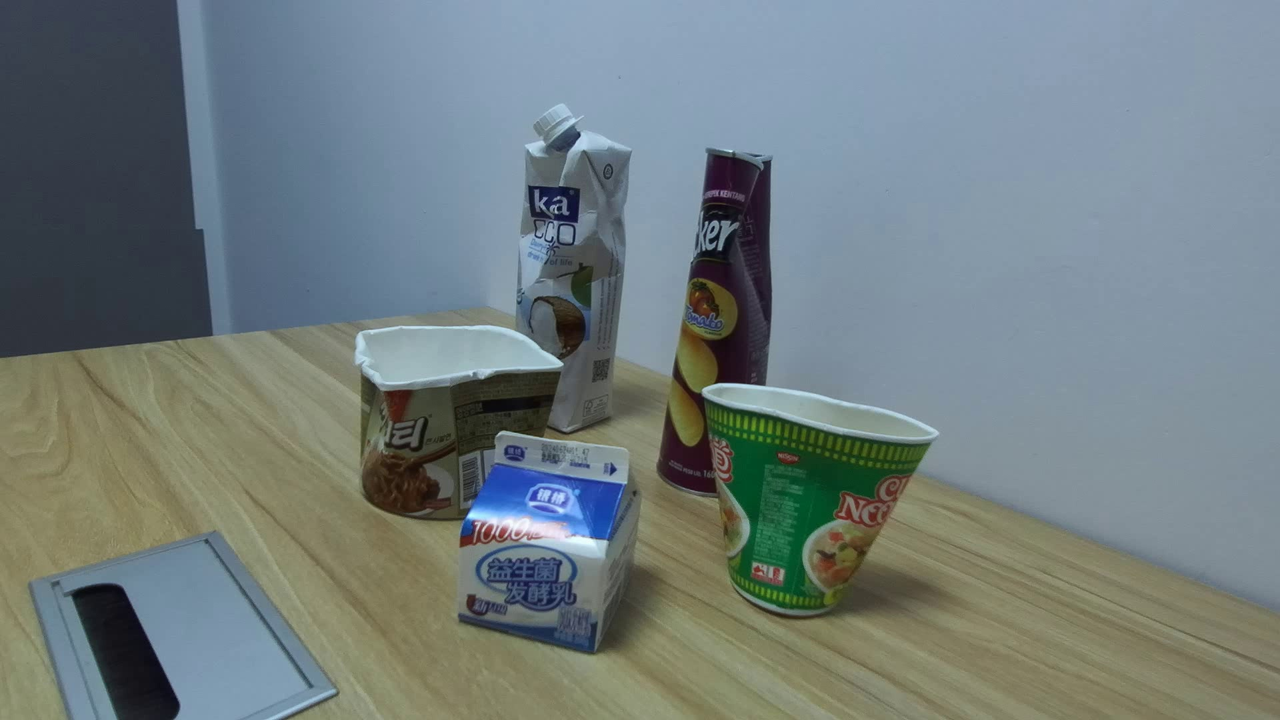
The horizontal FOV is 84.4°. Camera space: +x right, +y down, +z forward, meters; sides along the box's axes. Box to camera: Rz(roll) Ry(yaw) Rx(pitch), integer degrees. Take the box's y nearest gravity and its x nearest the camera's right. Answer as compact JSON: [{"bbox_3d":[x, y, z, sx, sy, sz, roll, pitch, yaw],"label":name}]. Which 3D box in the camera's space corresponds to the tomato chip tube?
[{"bbox_3d":[0.063,-0.025,0.499,0.078,0.235,0.076,-1,17,-24],"label":"tomato chip tube"}]

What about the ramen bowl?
[{"bbox_3d":[-0.135,0.033,0.478,0.114,0.097,0.133,-12,25,-41],"label":"ramen bowl"}]

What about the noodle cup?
[{"bbox_3d":[0.087,0.074,0.388,0.114,0.111,0.070,20,24,37],"label":"noodle cup"}]

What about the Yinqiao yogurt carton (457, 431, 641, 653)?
[{"bbox_3d":[-0.043,0.082,0.359,0.075,0.092,0.074,9,18,11],"label":"Yinqiao yogurt carton"}]

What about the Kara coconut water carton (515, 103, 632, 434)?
[{"bbox_3d":[-0.060,-0.072,0.578,0.079,0.255,0.083,-11,24,-40],"label":"Kara coconut water carton"}]
